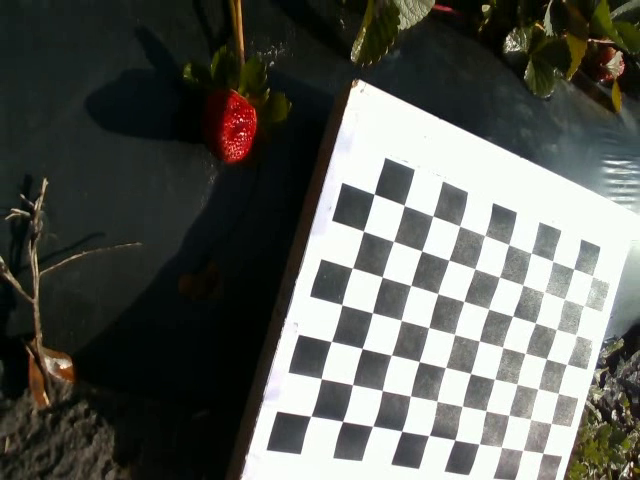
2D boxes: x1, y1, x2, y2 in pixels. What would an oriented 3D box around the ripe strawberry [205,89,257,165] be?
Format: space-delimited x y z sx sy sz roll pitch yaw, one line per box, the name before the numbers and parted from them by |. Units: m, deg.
ripe strawberry | -0.018 -0.023 0.126 0.015 0.023 0.015 27 -58 -29
